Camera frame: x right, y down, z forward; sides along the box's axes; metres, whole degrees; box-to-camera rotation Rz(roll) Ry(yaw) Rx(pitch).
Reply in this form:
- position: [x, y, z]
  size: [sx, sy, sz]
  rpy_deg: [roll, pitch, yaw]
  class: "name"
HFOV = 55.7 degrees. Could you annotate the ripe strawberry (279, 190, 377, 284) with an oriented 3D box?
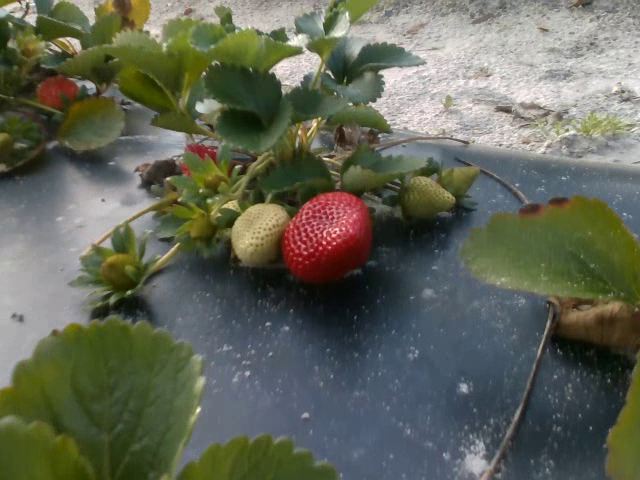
- position: [0.004, -0.001, 0.271]
  size: [0.048, 0.051, 0.055]
  rpy_deg: [42, 0, -6]
  class: "ripe strawberry"
